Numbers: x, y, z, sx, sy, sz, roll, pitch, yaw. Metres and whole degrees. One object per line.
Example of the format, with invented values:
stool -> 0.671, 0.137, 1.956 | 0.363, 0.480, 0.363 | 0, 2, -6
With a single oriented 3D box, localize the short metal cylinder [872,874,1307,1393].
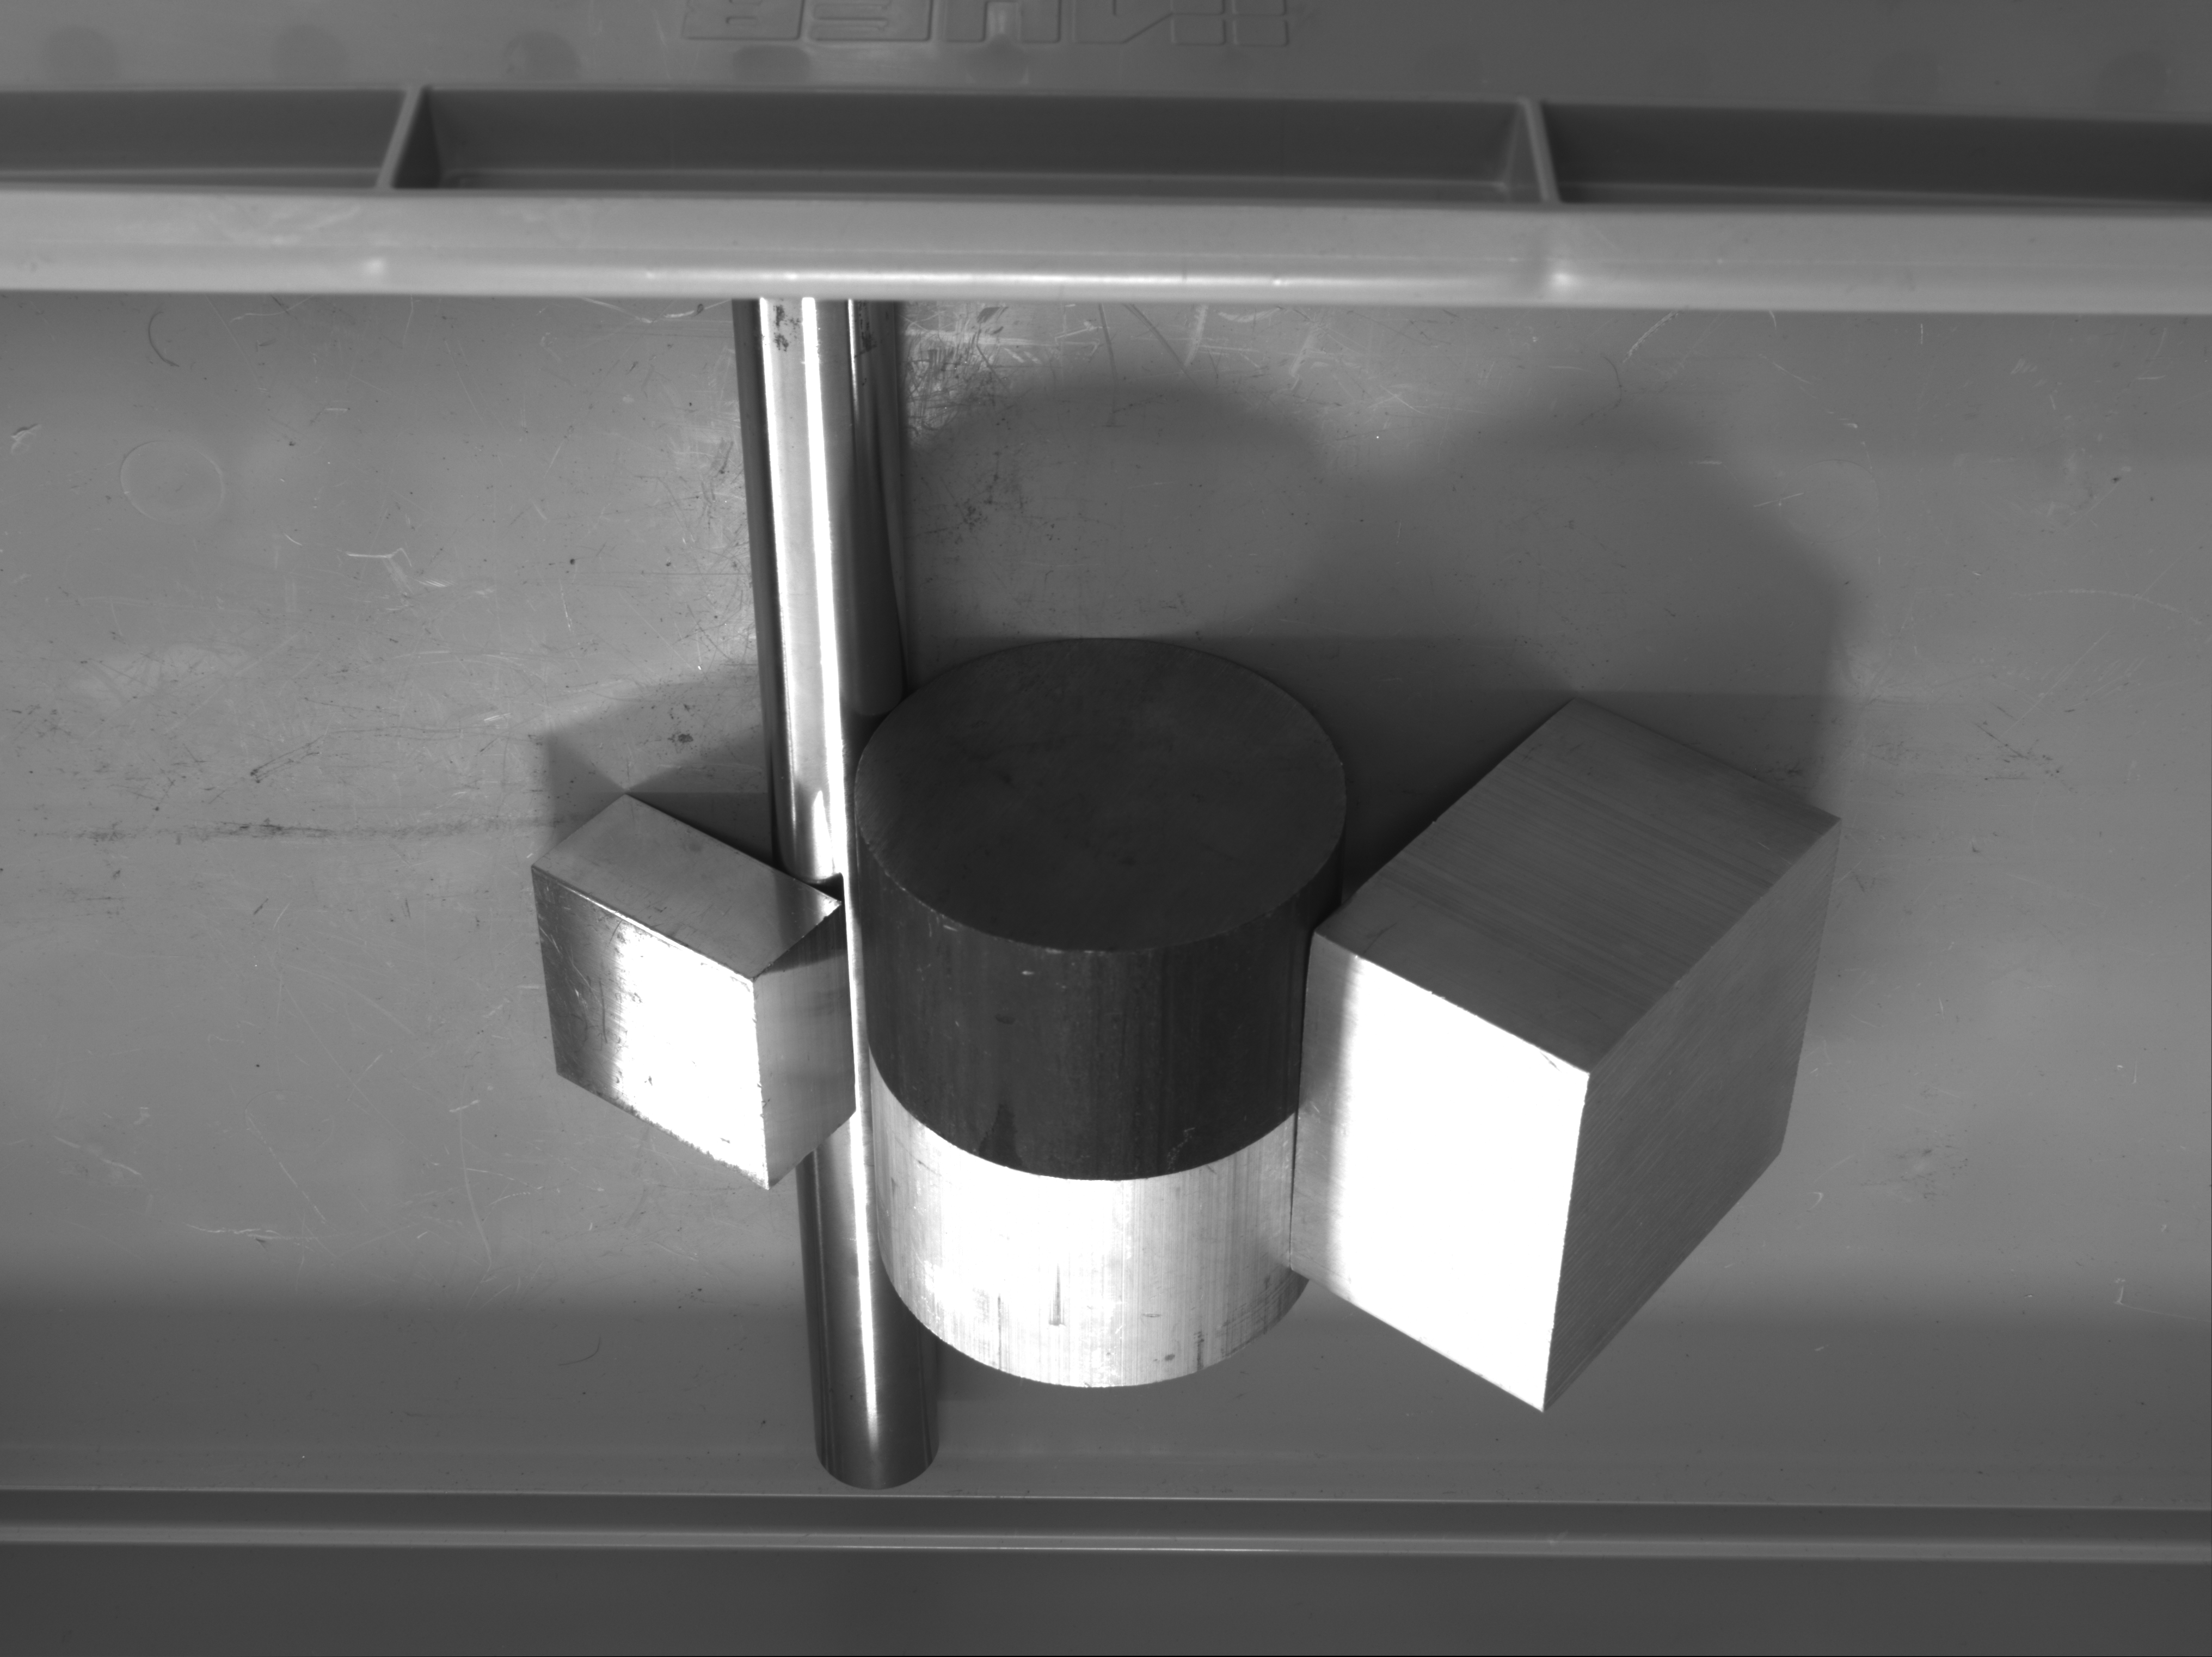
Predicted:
short metal cylinder -> -0.001, 0.052, 0.645 | 0.080, 0.080, 0.050 | 0, 130, 0

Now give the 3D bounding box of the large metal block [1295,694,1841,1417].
large metal block -> 0.078, 0.038, 0.624 | 0.050, 0.080, 0.080 | 27, 137, 28

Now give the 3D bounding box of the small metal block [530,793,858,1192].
small metal block -> -0.072, 0.029, 0.647 | 0.050, 0.025, 0.050 | 24, 135, 26

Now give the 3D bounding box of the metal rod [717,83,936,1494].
metal rod -> -0.046, 0.010, 0.645 | 0.025, 0.025, 0.300 | 0, 130, 0

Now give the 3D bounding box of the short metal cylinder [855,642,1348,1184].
short metal cylinder -> -0.001, 0.013, 0.612 | 0.080, 0.080, 0.050 | 0, 130, 0
